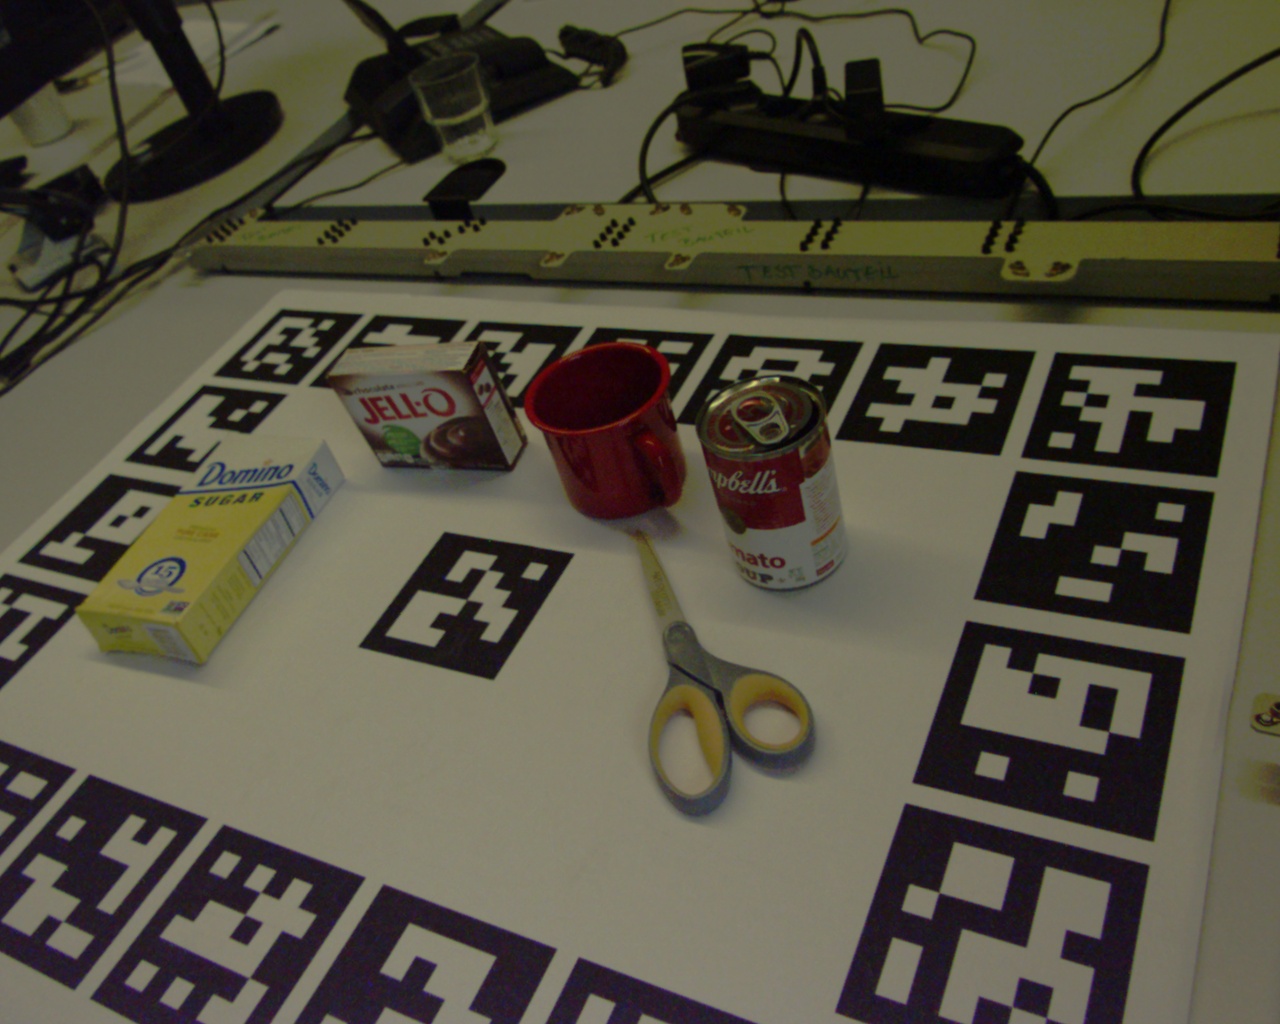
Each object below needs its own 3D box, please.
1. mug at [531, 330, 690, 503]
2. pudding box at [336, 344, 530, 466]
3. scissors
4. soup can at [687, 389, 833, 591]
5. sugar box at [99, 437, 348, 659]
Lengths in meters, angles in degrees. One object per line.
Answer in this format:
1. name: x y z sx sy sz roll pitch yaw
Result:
1. mug: -0.013 -0.053 0.747 0.093 0.081 0.118 -21 41 4
2. pudding box: -0.146 -0.076 0.814 0.115 0.089 0.038 0 53 22
3. scissors: 0.023 0.077 0.646 0.088 0.015 0.205 -30 43 5
4. soup can: 0.072 -0.012 0.667 0.068 0.101 0.068 -12 41 10
5. sugar box: -0.295 0.021 0.821 0.094 0.045 0.176 4 50 28
